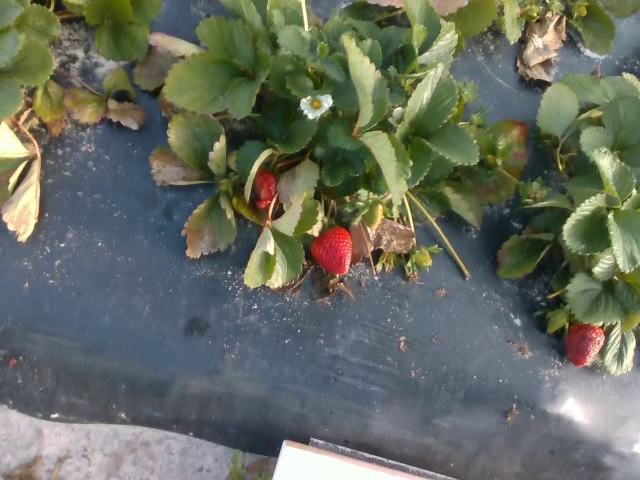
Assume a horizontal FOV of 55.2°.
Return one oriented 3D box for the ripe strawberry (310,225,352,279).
[{"bbox_3d":[0.008,0.009,0.370,0.031,0.030,0.026,-20,-20,-7],"label":"ripe strawberry"}]
